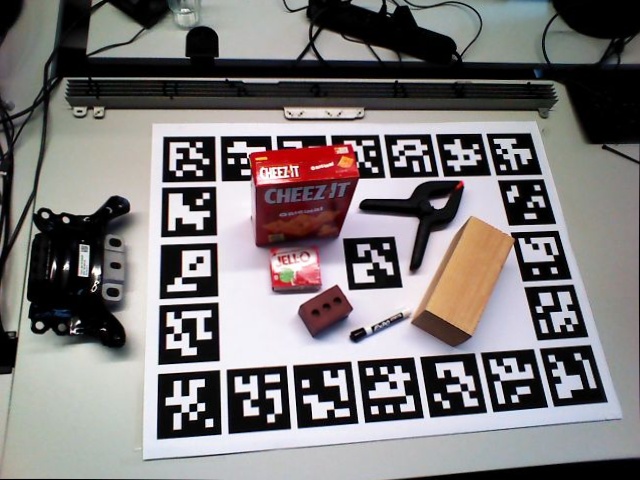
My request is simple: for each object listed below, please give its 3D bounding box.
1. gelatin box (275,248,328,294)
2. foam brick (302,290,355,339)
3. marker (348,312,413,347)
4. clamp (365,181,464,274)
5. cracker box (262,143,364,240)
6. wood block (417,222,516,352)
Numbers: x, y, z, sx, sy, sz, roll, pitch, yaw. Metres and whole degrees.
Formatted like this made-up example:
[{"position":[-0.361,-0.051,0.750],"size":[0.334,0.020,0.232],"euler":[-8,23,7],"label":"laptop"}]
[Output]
[{"position":[-0.033,0.055,0.916],"size":[0.089,0.030,0.073],"euler":[-3,71,-8],"label":"gelatin box"},{"position":[0.015,0.125,0.881],"size":[0.078,0.051,0.052],"euler":[-26,76,-15],"label":"foam brick"},{"position":[0.105,0.156,0.896],"size":[0.121,0.020,0.019],"euler":[-21,75,-14],"label":"marker"},{"position":[0.211,-0.052,0.979],"size":[0.202,0.037,0.165],"euler":[-32,77,-16],"label":"clamp"},{"position":[-0.015,-0.074,0.861],"size":[0.164,0.214,0.071],"euler":[-5,69,-11],"label":"cracker box"},{"position":[0.264,0.078,0.911],"size":[0.090,0.091,0.205],"euler":[30,66,8],"label":"wood block"}]
